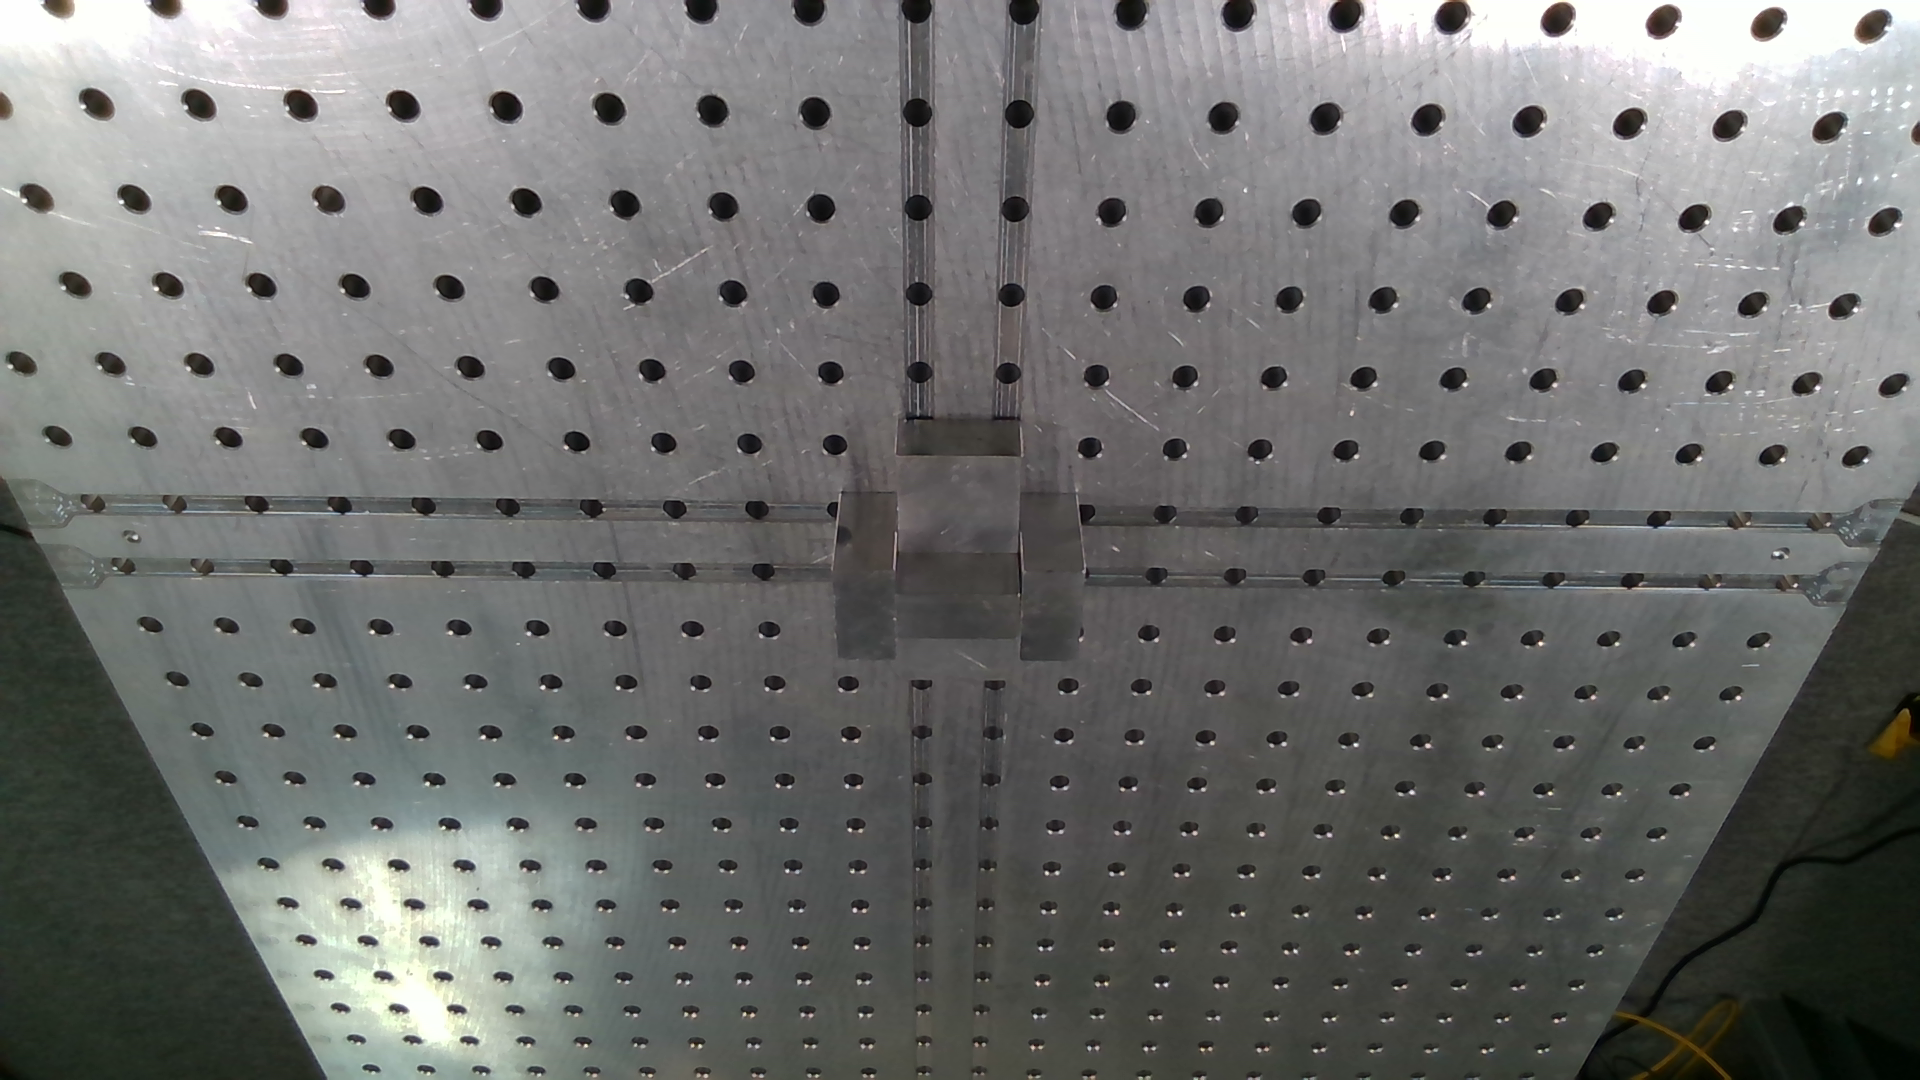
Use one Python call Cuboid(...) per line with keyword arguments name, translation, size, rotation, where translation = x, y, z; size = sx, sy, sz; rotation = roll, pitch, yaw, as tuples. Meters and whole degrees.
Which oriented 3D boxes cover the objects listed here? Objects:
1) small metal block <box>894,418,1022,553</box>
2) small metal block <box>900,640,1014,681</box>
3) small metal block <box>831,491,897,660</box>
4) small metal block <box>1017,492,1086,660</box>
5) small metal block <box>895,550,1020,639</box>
Cuboid(name="small metal block", translation=(-0.001, -0.022, 0.563), size=(0.050, 0.025, 0.050), rotation=(0, 130, 0))
Cuboid(name="small metal block", translation=(-0.001, 0.036, 0.612), size=(0.050, 0.025, 0.050), rotation=(1, 130, -1))
Cuboid(name="small metal block", translation=(-0.039, 0.015, 0.578), size=(0.025, 0.050, 0.050), rotation=(1, 130, 0))
Cuboid(name="small metal block", translation=(0.037, 0.015, 0.578), size=(0.025, 0.050, 0.050), rotation=(1, 130, 0))
Cuboid(name="small metal block", translation=(-0.001, 0.015, 0.578), size=(0.050, 0.050, 0.025), rotation=(1, 130, 0))
